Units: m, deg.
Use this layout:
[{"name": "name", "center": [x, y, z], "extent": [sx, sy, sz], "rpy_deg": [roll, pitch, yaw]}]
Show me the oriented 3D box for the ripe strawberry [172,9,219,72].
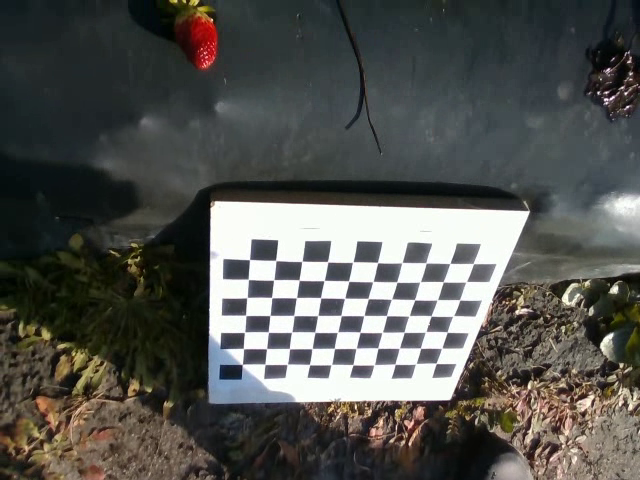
[{"name": "ripe strawberry", "center": [-0.072, -0.119, 0.386], "extent": [0.028, 0.041, 0.031], "rpy_deg": [-18, -19, 6]}]
